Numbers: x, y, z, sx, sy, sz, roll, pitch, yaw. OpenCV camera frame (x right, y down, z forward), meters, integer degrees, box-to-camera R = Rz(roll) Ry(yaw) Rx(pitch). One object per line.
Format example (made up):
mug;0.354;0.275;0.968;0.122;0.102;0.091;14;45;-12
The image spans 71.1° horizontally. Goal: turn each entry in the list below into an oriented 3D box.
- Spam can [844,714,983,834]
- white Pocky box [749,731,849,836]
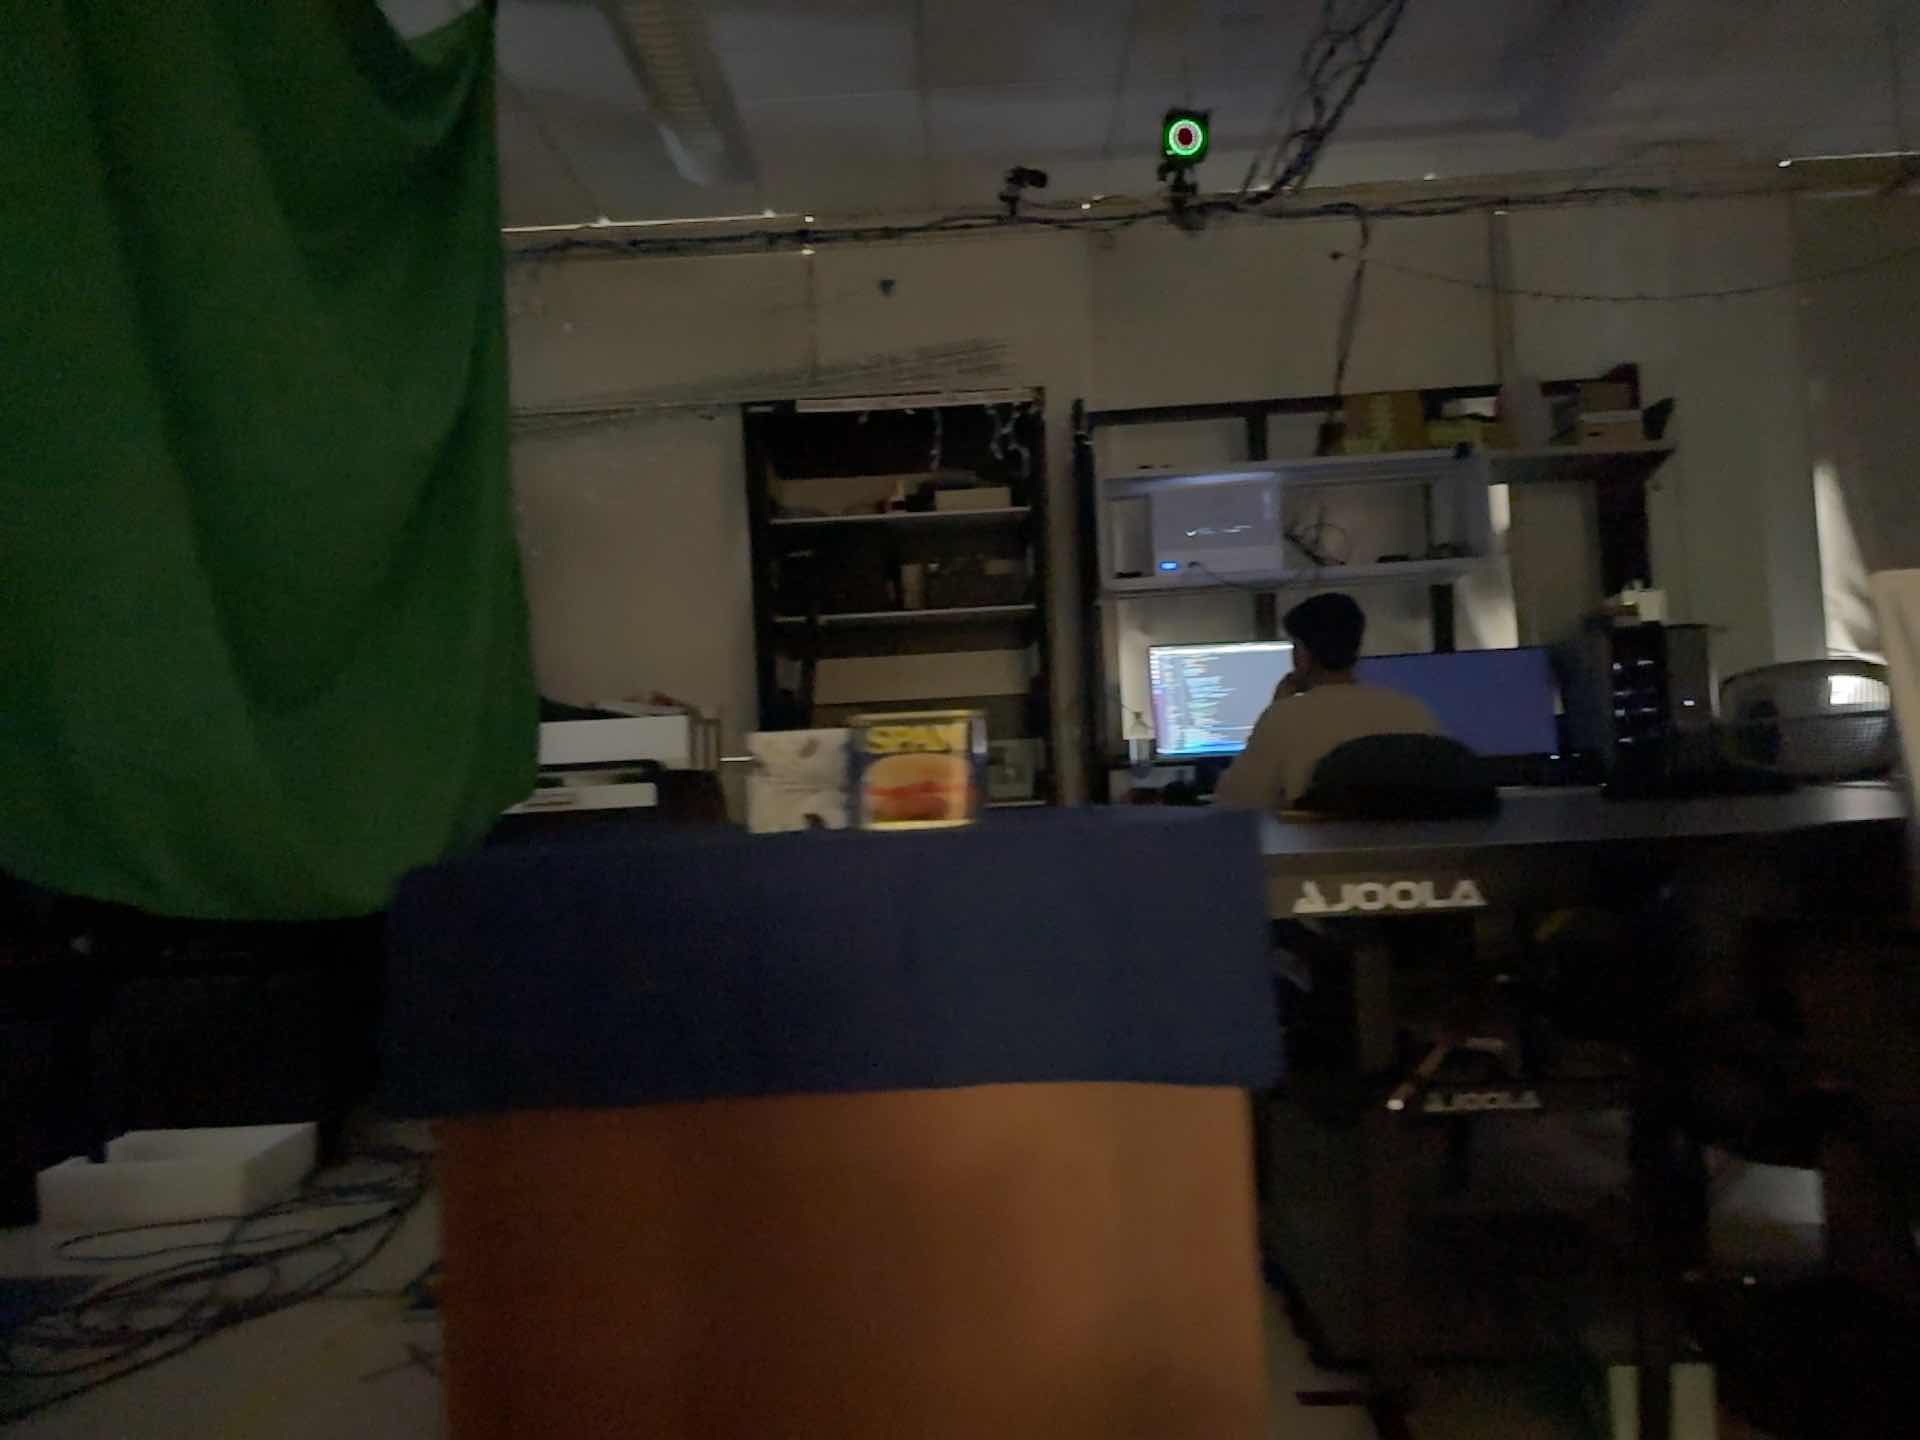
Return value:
Spam can;-0.034;0.040;0.988;0.100;0.083;0.056;-1;-4;3
white Pocky box;-0.096;0.050;1.097;0.154;0.084;0.028;-3;-4;12
